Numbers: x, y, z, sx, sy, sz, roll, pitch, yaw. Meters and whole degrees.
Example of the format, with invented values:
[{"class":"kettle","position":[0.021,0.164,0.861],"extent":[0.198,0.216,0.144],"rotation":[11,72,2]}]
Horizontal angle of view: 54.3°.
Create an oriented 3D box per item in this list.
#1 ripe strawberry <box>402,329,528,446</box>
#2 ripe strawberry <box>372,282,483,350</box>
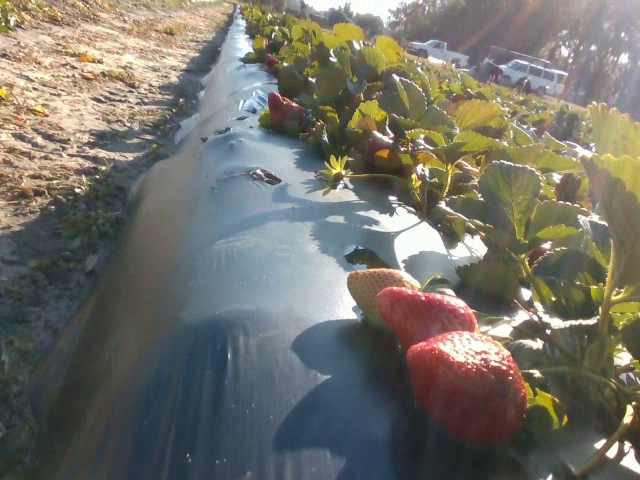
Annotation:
[{"class":"ripe strawberry","position":[0.057,0.056,0.250],"extent":[0.056,0.052,0.067],"rotation":[1,-23,38]},{"class":"ripe strawberry","position":[0.052,0.040,0.301],"extent":[0.061,0.044,0.051],"rotation":[31,37,-1]}]
